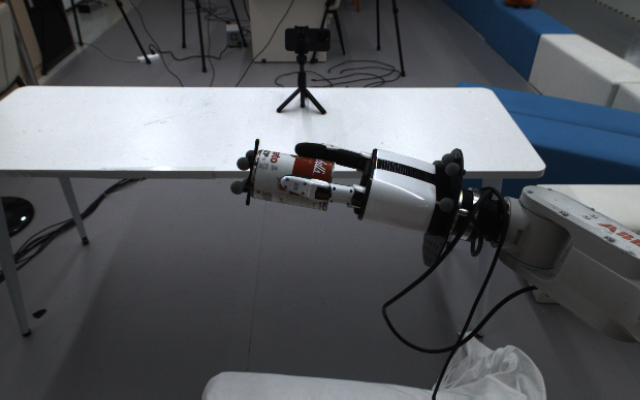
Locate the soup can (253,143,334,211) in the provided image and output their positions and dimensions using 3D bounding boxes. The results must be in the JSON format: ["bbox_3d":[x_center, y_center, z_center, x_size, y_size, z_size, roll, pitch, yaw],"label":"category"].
[{"bbox_3d":[-0.033,-0.026,0.645,0.101,0.067,0.067,10,35,0],"label":"soup can"}]
